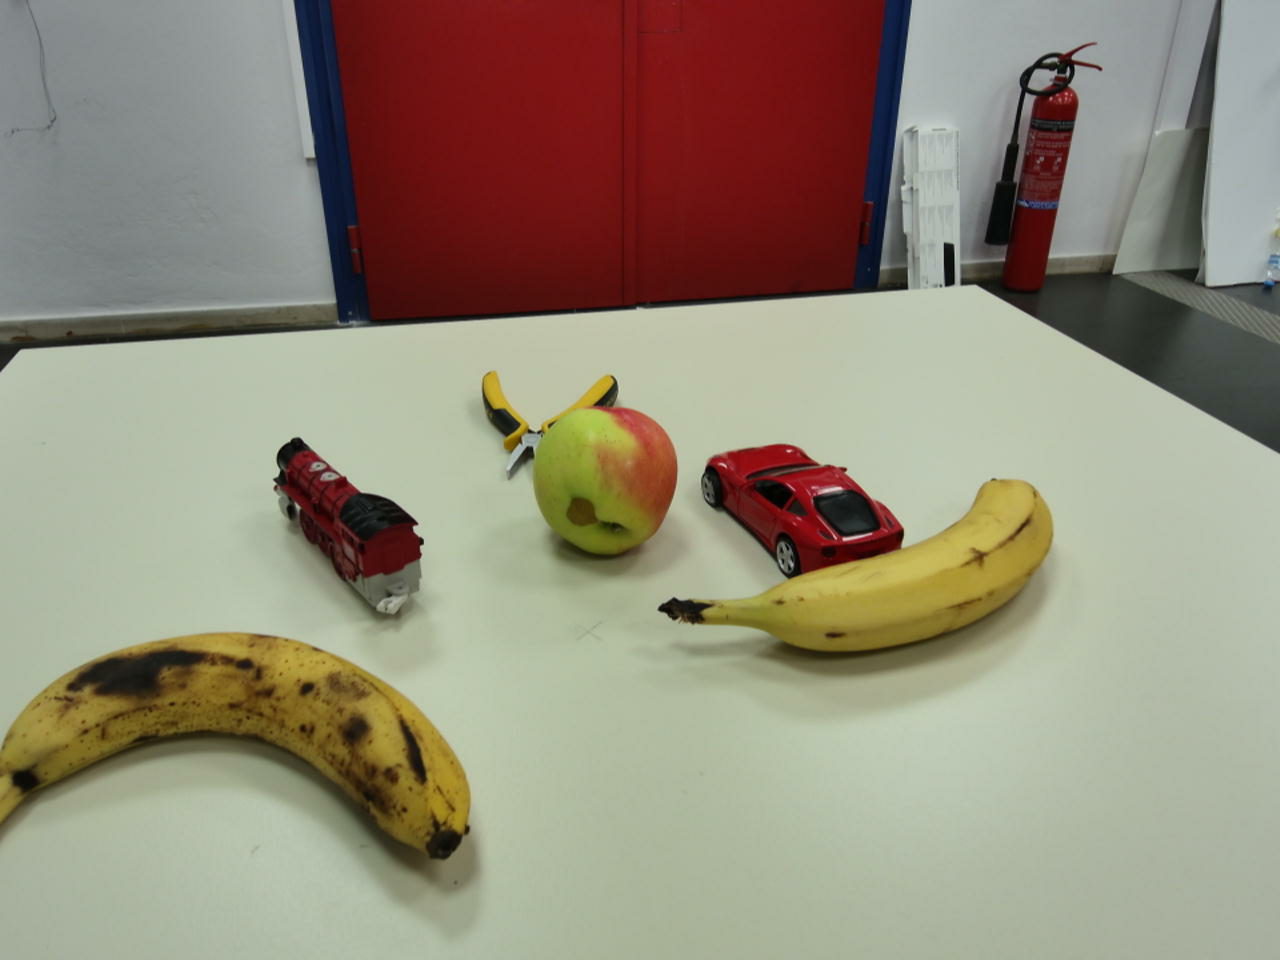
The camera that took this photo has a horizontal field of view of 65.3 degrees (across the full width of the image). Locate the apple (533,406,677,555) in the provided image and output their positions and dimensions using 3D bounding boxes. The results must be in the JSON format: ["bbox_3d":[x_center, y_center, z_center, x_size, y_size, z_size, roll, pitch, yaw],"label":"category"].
[{"bbox_3d":[-0.016,-0.001,0.509,0.075,0.074,0.075,-14,30,-29],"label":"apple"}]
